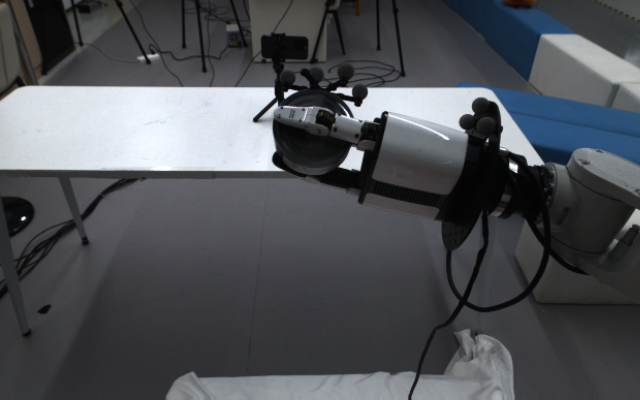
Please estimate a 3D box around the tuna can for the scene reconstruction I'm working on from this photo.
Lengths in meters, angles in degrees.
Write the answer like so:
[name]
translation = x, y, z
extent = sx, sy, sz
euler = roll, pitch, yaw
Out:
[tuna can]
translation = -0.006, -0.072, 0.511
extent = 0.085, 0.034, 0.085
euler = 1, 74, -3
